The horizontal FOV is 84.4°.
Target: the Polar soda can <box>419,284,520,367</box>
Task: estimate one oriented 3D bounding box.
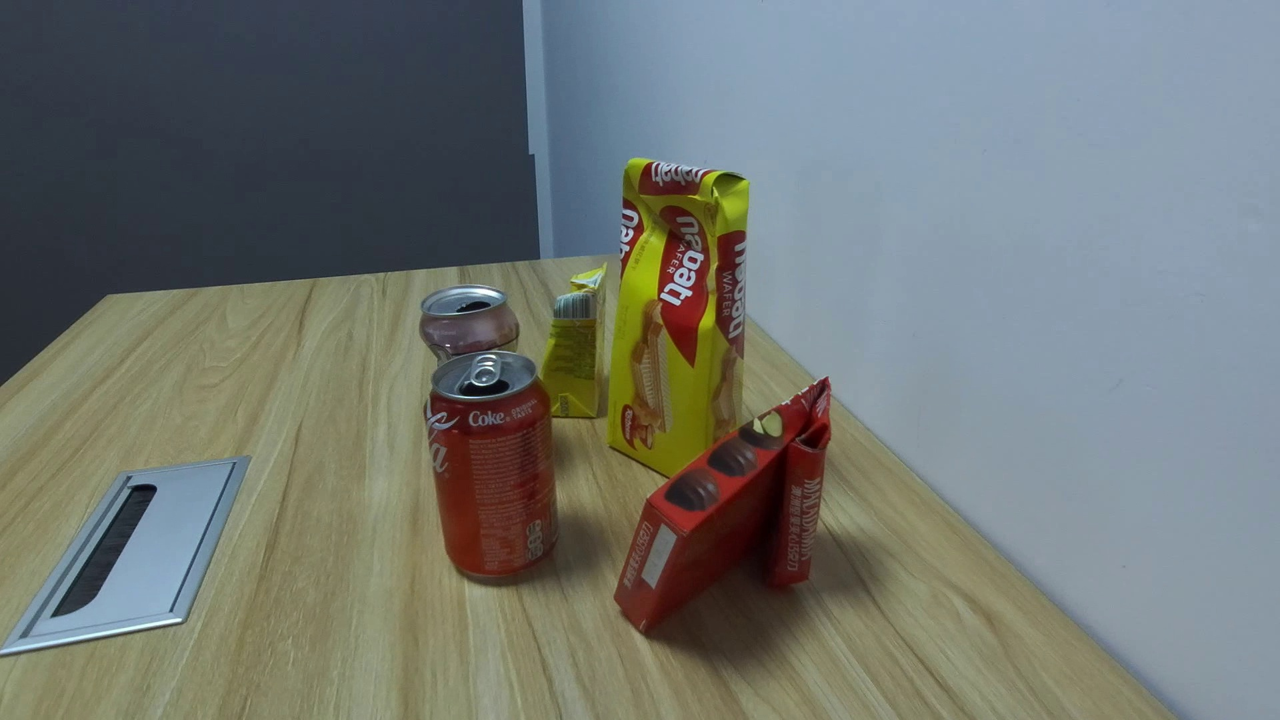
[{"bbox_3d":[-0.111,0.016,0.484,0.067,0.122,0.074,0,24,8],"label":"Polar soda can"}]

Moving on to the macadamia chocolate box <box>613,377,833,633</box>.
[{"bbox_3d":[0.049,0.076,0.360,0.127,0.112,0.056,-17,33,-32],"label":"macadamia chocolate box"}]

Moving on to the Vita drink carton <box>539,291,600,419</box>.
[{"bbox_3d":[-0.050,-0.017,0.555,0.046,0.110,0.071,3,25,3],"label":"Vita drink carton"}]

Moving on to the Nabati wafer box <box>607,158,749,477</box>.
[{"bbox_3d":[0.022,-0.021,0.454,0.112,0.205,0.043,21,31,40],"label":"Nabati wafer box"}]

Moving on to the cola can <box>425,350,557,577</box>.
[{"bbox_3d":[-0.081,0.058,0.394,0.068,0.120,0.068,0,26,1],"label":"cola can"}]
